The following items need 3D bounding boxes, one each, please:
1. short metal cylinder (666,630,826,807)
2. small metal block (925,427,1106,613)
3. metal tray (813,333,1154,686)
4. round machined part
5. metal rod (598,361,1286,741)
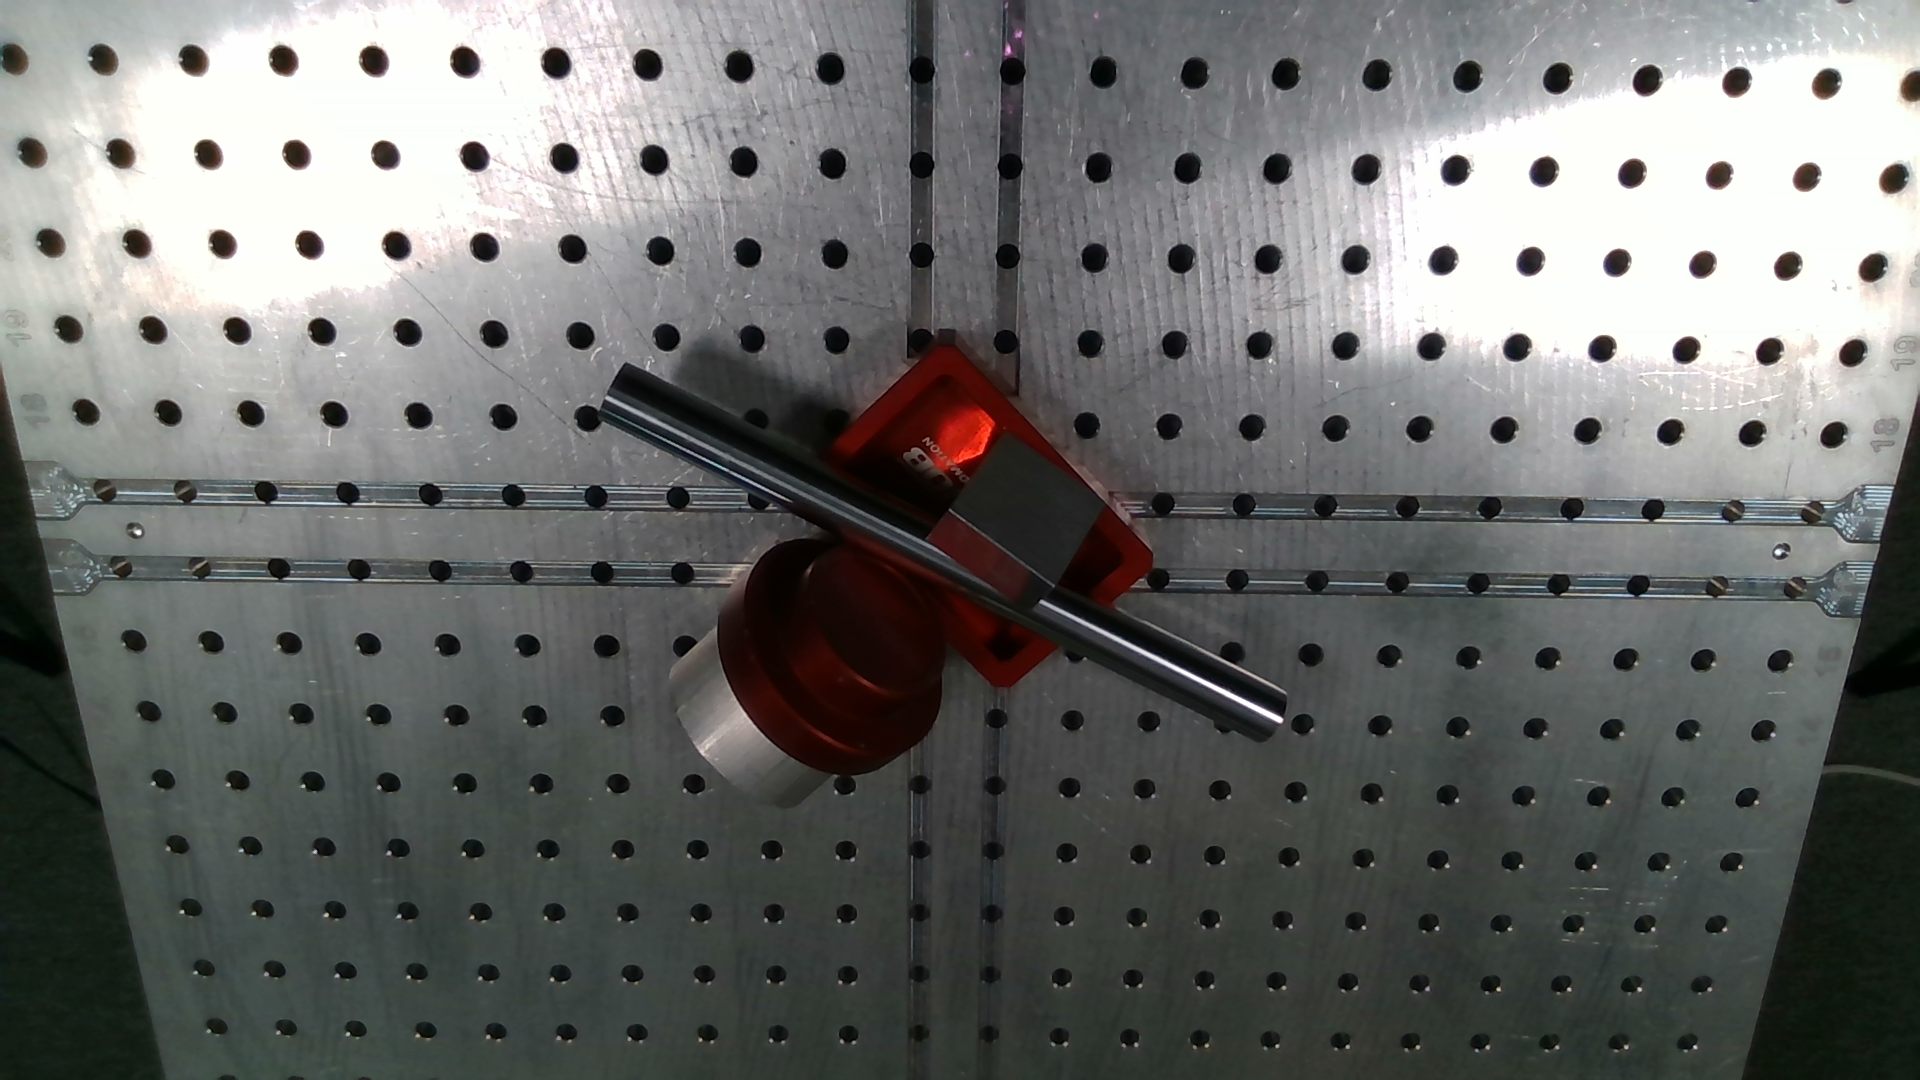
[{"bbox_3d":[-0.076,0.065,0.581,0.050,0.080,0.080,-42,105,14],"label":"short metal cylinder"},{"bbox_3d":[0.023,-0.008,0.547,0.050,0.050,0.025,36,144,-2],"label":"small metal block"},{"bbox_3d":[0.006,-0.012,0.579,0.090,0.030,0.130,-41,105,14],"label":"metal tray"},{"bbox_3d":[-0.045,0.041,0.552,0.098,0.098,0.042,42,127,-14],"label":"round machined part"},{"bbox_3d":[-0.002,0.008,0.558,0.300,0.025,0.025,26,108,-9],"label":"metal rod"}]
